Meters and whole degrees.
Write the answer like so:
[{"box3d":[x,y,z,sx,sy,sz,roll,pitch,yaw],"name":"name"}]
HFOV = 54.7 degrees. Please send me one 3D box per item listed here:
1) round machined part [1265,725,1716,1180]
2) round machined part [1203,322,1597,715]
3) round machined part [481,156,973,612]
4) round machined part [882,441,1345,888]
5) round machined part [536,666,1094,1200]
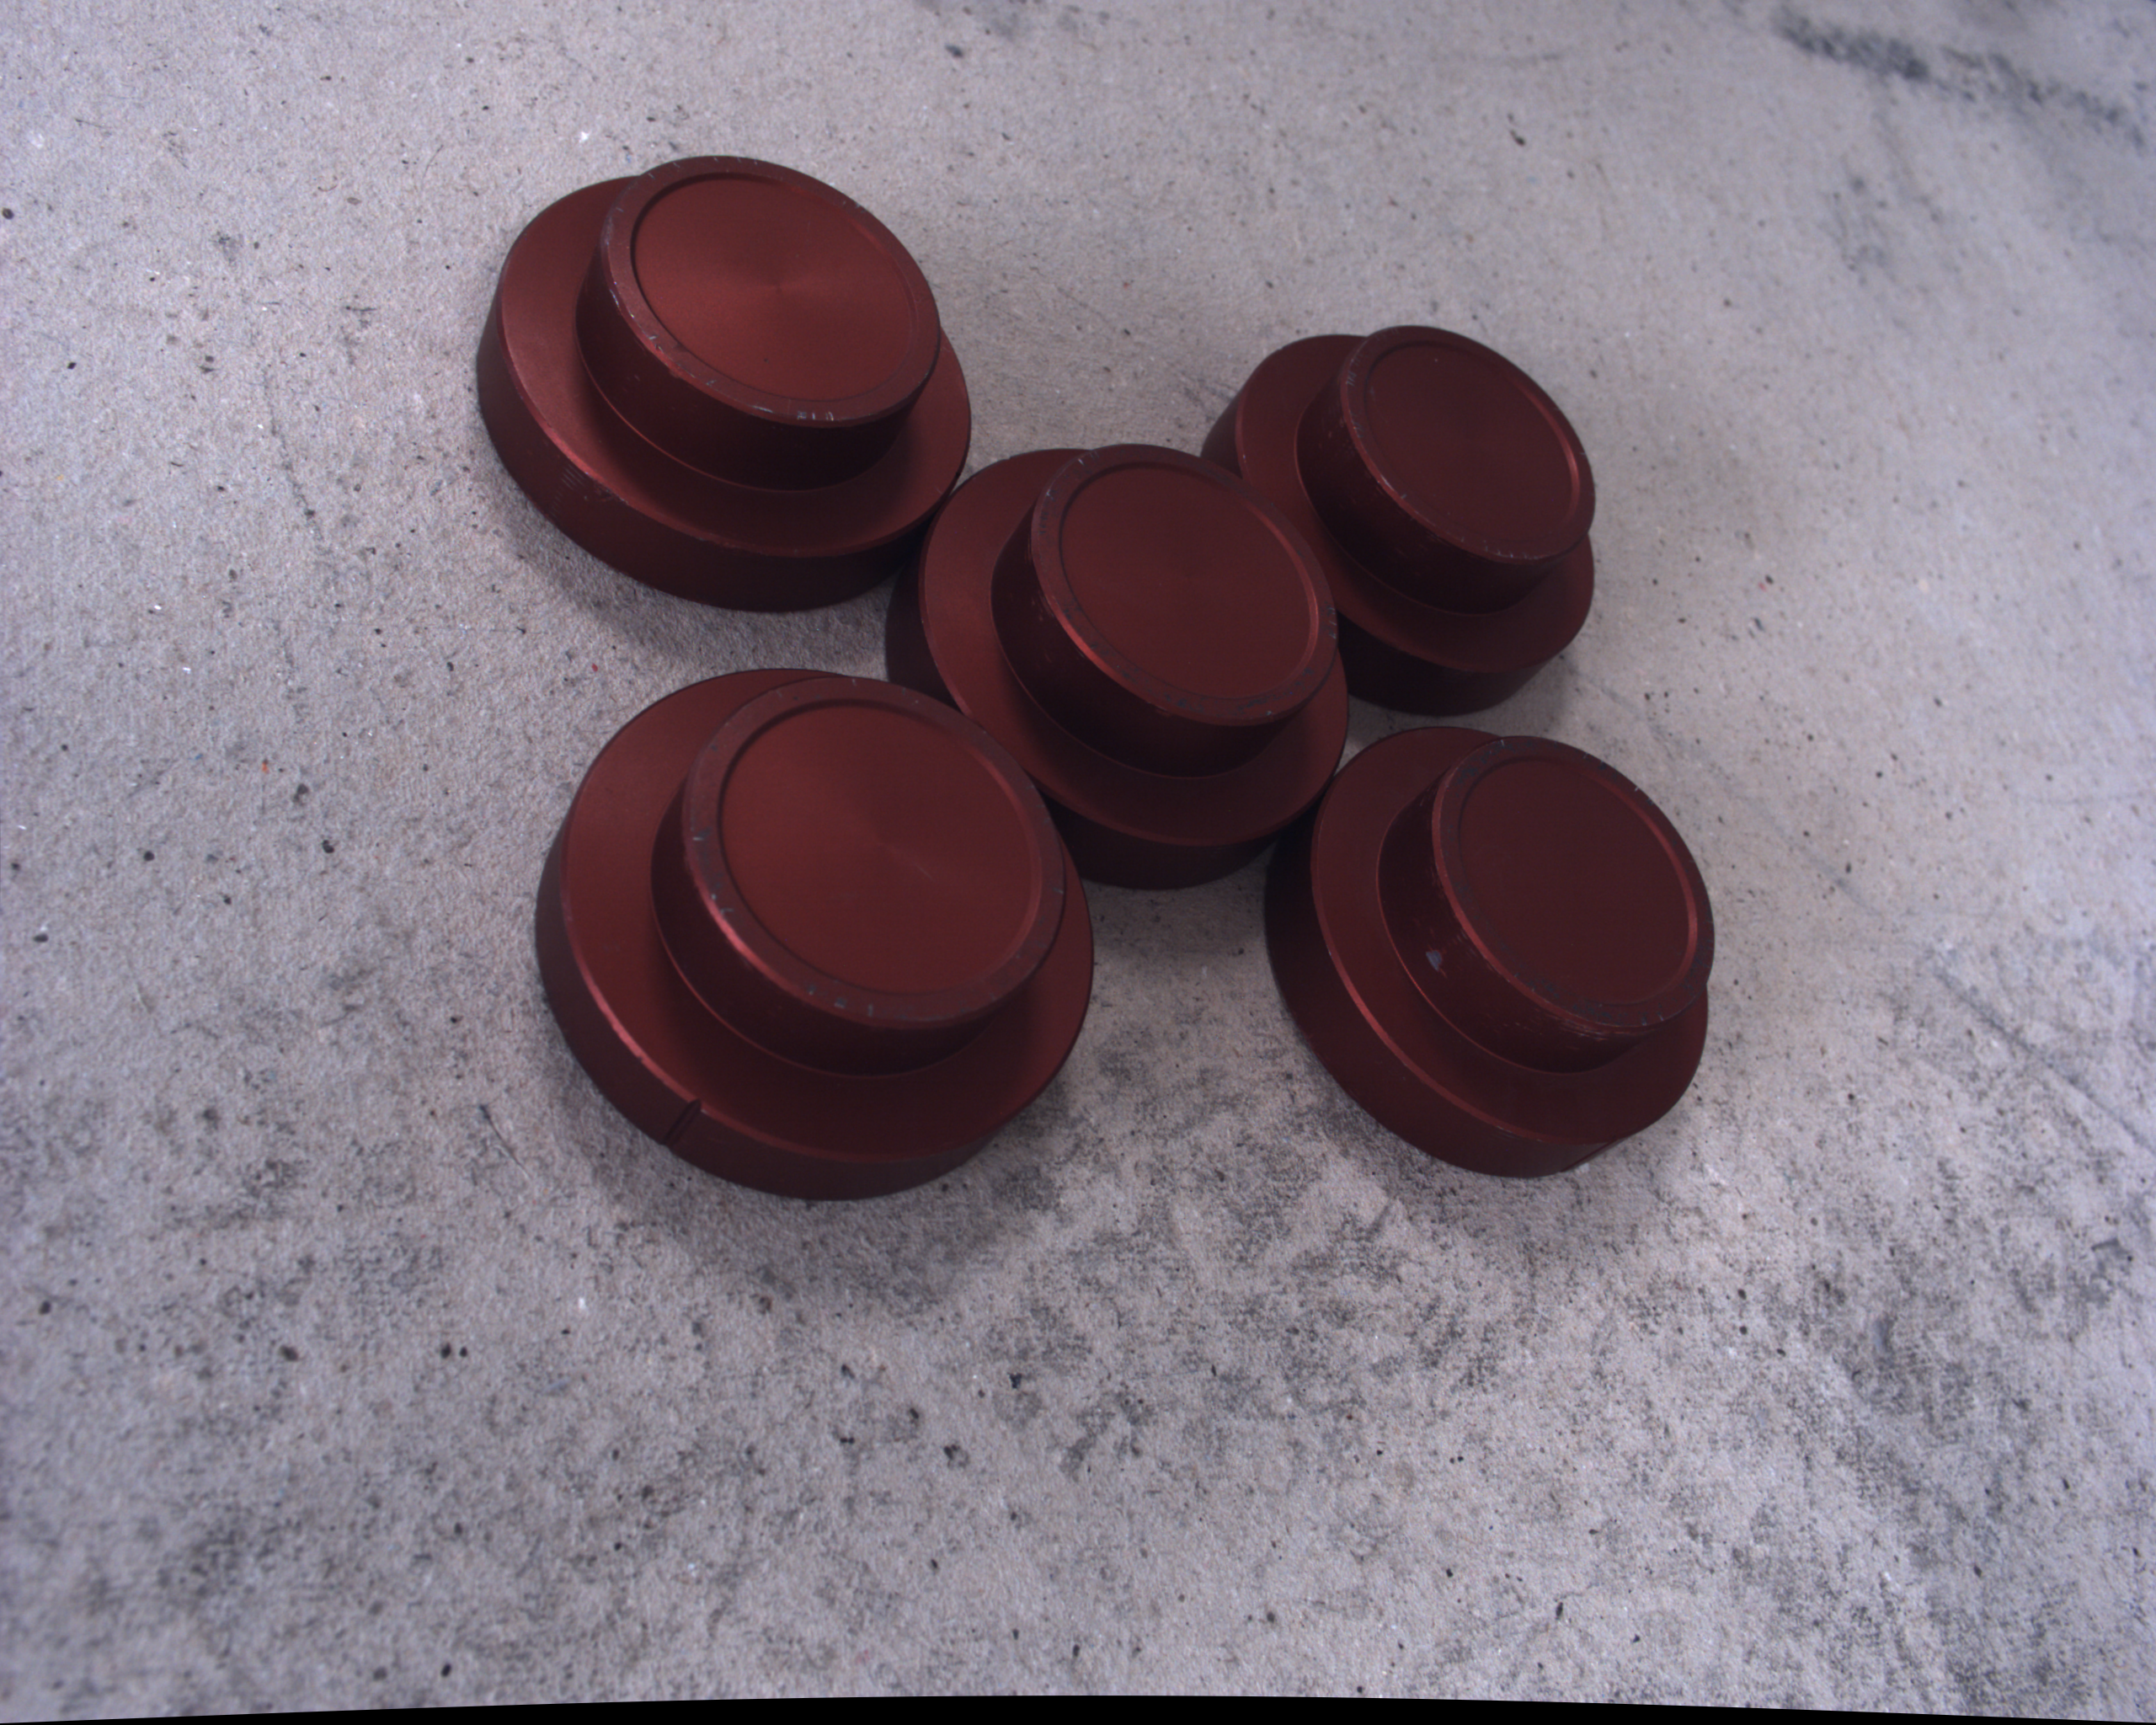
[{"box3d":[0.092,0.013,0.436,0.099,0.042,0.098,13,58,-21],"name":"round machined part"},{"box3d":[0.081,-0.087,0.490,0.099,0.042,0.098,13,58,-21],"name":"round machined part"},{"box3d":[-0.067,-0.102,0.421,0.099,0.042,0.098,13,56,-21],"name":"round machined part"},{"box3d":[0.013,-0.047,0.430,0.099,0.042,0.098,13,58,-21],"name":"round machined part"},{"box3d":[-0.041,0.006,0.368,0.099,0.042,0.098,14,57,-21],"name":"round machined part"}]
